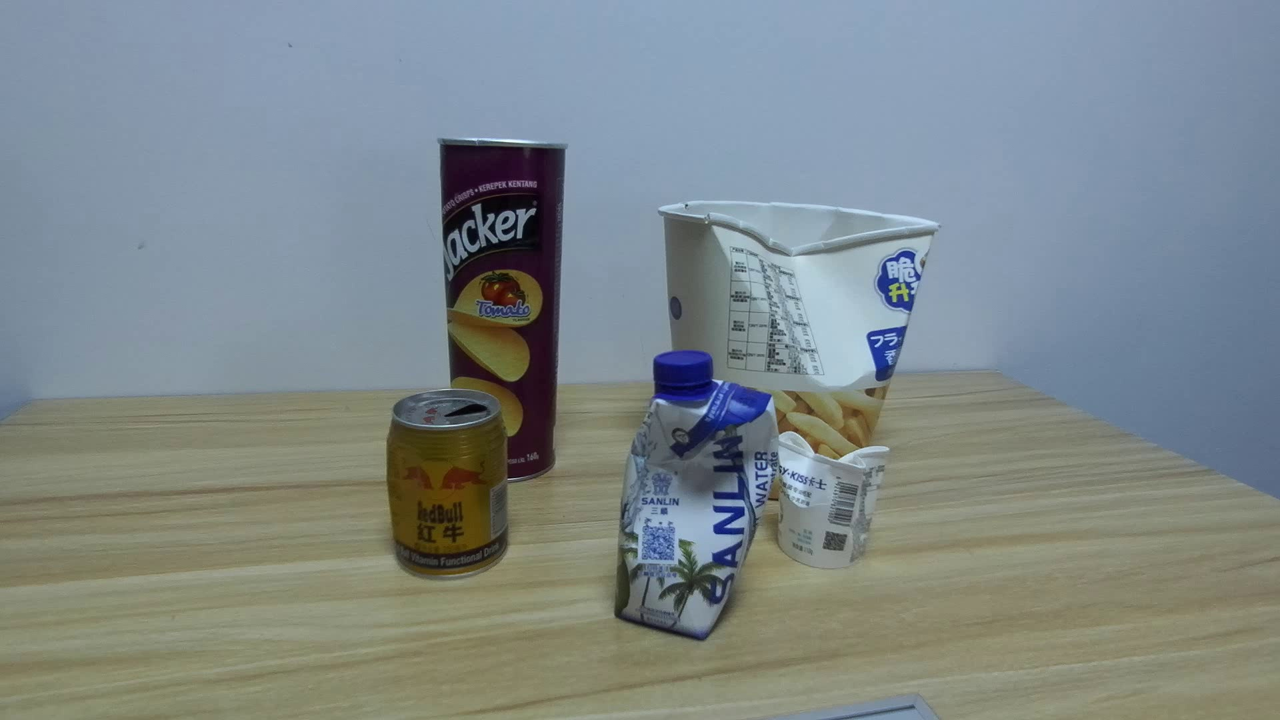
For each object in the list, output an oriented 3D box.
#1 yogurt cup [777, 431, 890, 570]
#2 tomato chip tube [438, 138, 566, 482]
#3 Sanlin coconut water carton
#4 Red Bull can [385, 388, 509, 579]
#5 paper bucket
[{"bbox_3d":[0.113,0.084,0.434,0.055,0.072,0.054,-16,26,-41],"label":"yogurt cup"},{"bbox_3d":[-0.096,-0.035,0.509,0.080,0.234,0.077,9,17,21],"label":"tomato chip tube"},{"bbox_3d":[0.028,0.069,0.354,0.068,0.144,0.057,16,28,15],"label":"Sanlin coconut water carton"},{"bbox_3d":[-0.111,0.071,0.412,0.068,0.093,0.068,3,16,-1],"label":"Red Bull can"},{"bbox_3d":[0.100,-0.013,0.533,0.163,0.202,0.168,-15,22,-41],"label":"paper bucket"}]
